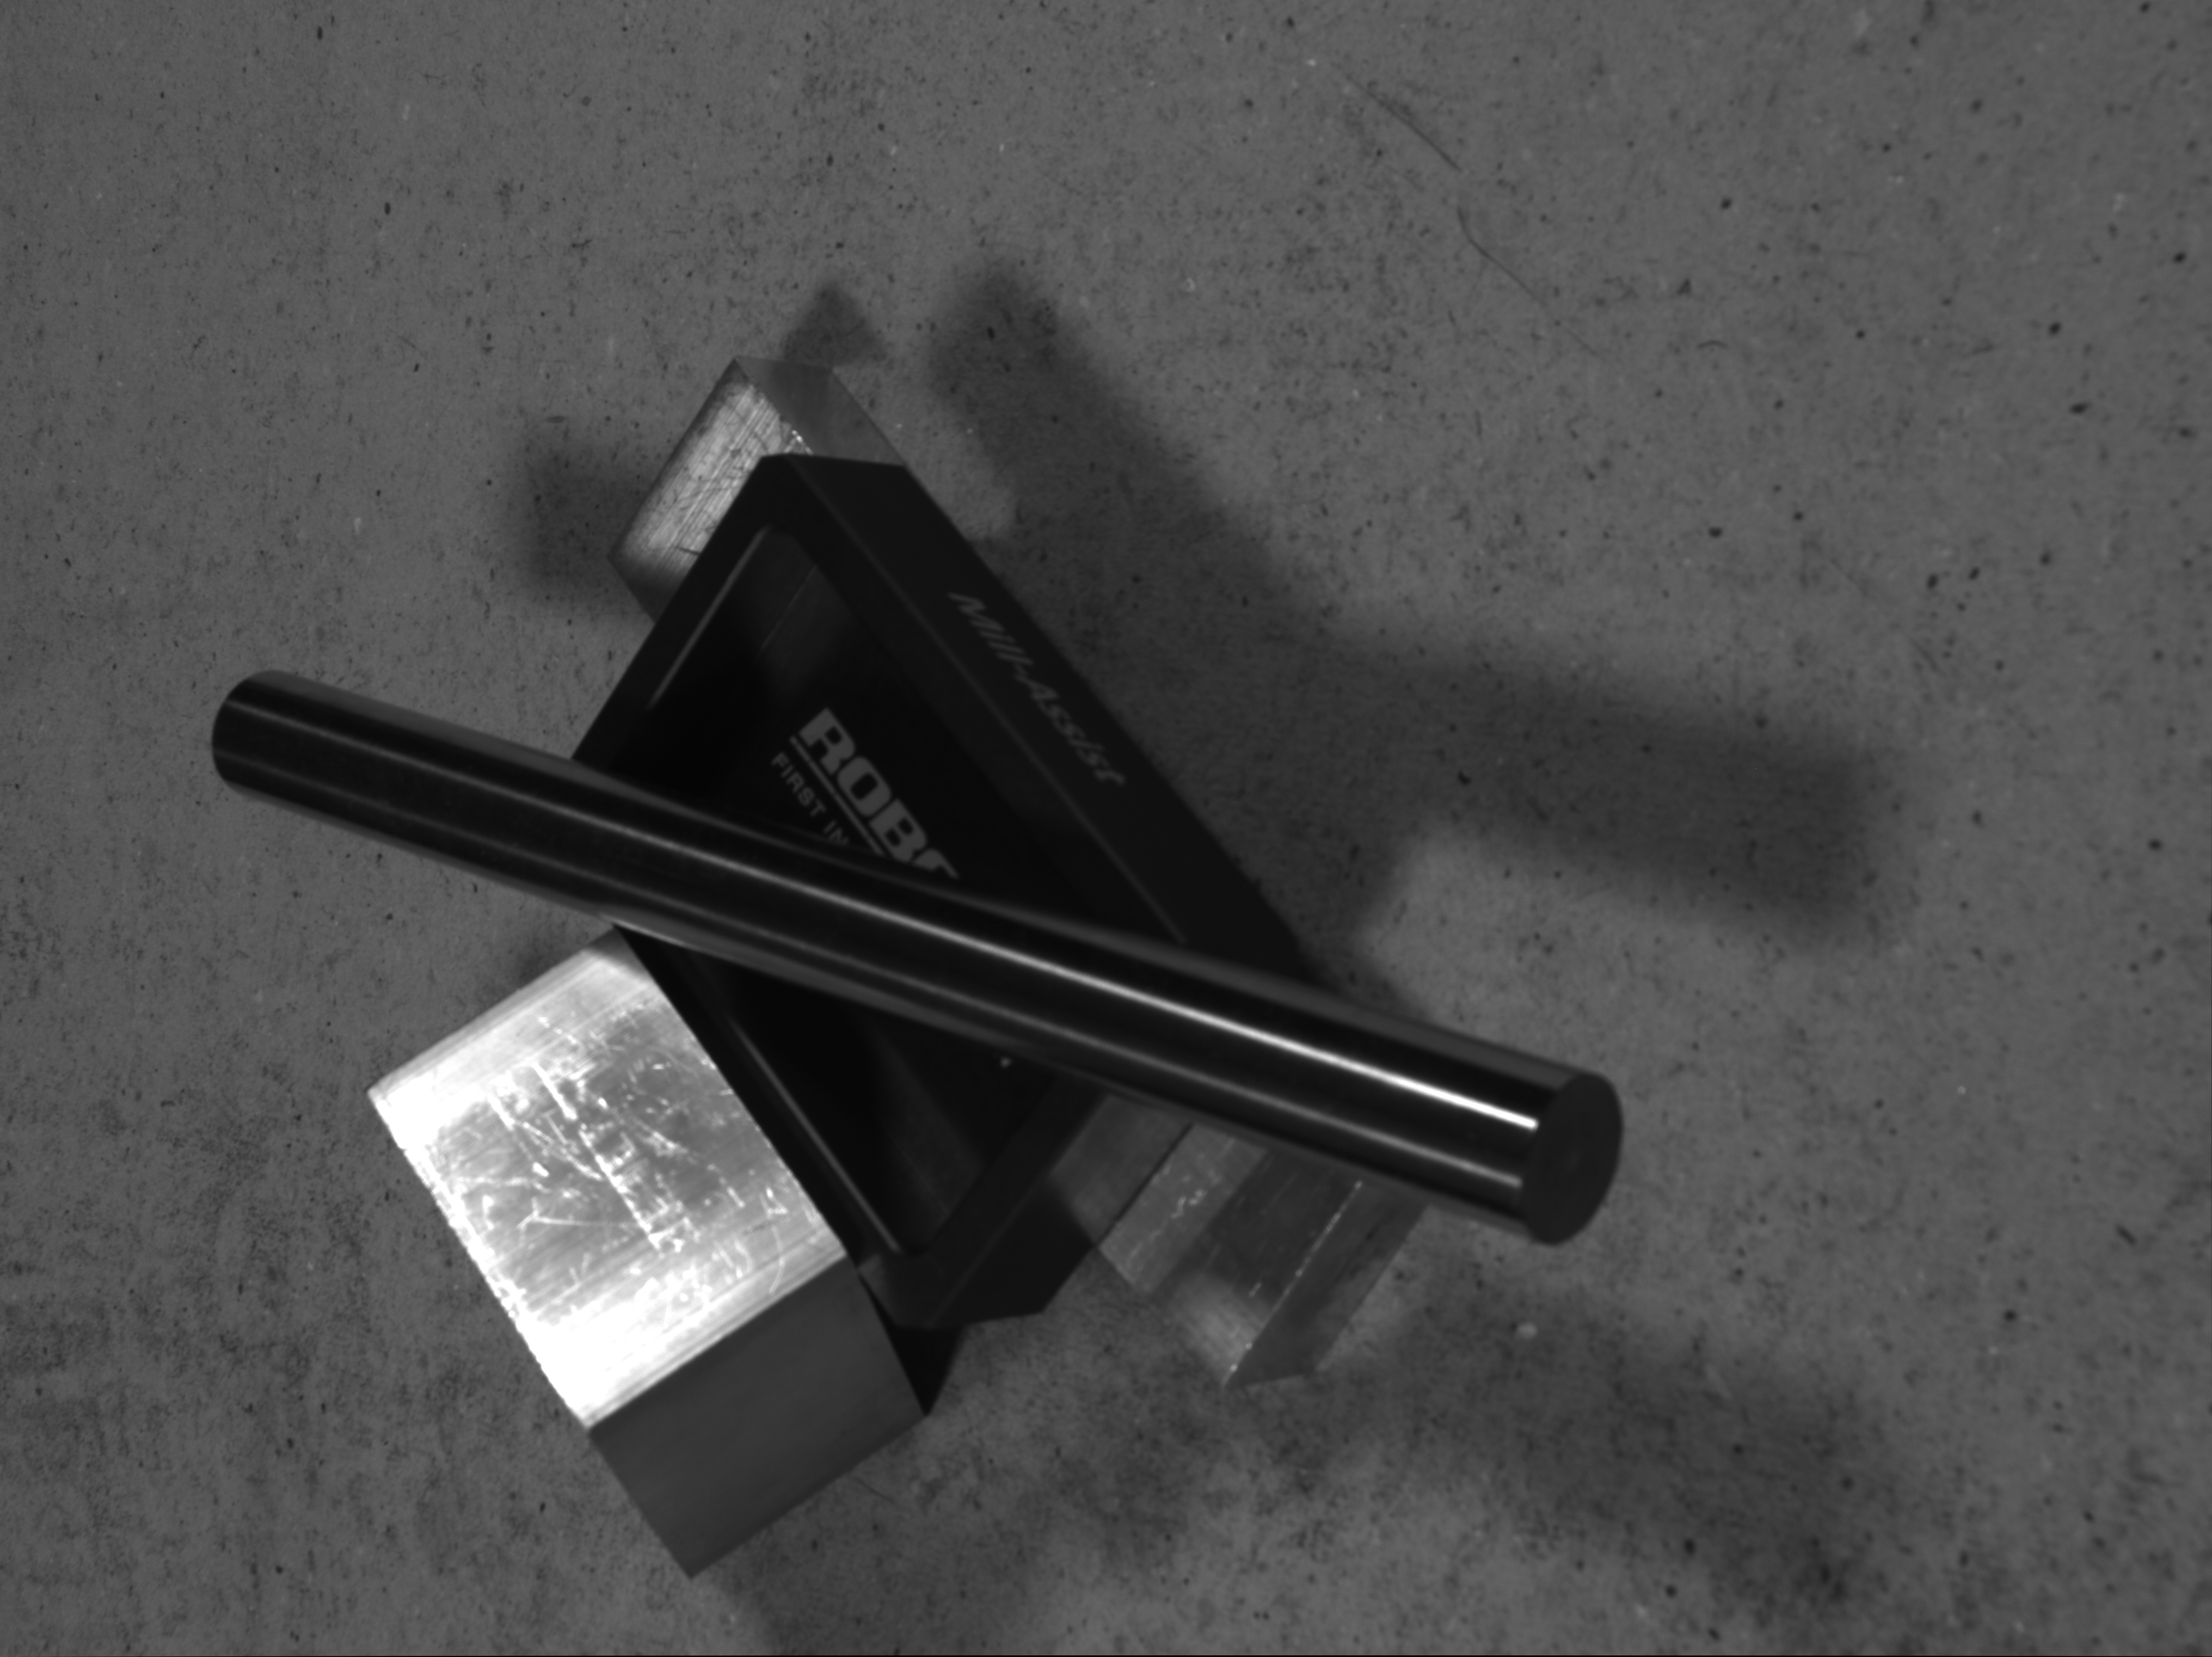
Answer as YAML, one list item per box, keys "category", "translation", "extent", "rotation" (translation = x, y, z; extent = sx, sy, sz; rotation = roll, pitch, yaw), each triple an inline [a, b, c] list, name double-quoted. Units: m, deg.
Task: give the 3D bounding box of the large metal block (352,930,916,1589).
- category: "large metal block"
  translation: [-0.083, 0.078, 0.658]
  extent: [0.050, 0.080, 0.080]
  rotation: [-34, 61, -11]

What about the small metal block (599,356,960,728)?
- category: "small metal block"
  translation: [-0.062, -0.052, 0.687]
  extent: [0.050, 0.025, 0.050]
  rotation: [52, 120, 27]

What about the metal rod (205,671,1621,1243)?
- category: "metal rod"
  translation: [-0.048, 0.014, 0.604]
  extent: [0.299, 0.025, 0.025]
  rotation: [16, 100, 38]

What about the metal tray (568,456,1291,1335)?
- category: "metal tray"
  translation: [-0.037, 0.010, 0.630]
  extent: [0.130, 0.030, 0.090]
  rotation: [51, 119, 27]

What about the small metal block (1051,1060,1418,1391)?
- category: "small metal block"
  translation: [0.023, 0.058, 0.617]
  extent: [0.050, 0.025, 0.050]
  rotation: [46, 117, 30]
